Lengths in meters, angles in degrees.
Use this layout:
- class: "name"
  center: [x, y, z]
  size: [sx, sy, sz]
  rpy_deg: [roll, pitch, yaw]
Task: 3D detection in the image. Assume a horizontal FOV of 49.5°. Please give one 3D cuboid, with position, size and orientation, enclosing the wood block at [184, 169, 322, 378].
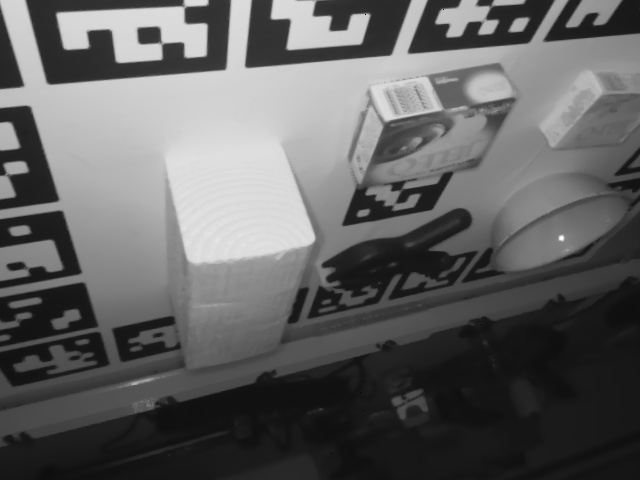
- class: "wood block"
  center: [-0.068, 0.041, 0.608]
  size: [0.091, 0.091, 0.203]
  rpy_deg: [-8, 147, -17]

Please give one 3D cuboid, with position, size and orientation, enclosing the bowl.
- class: "bowl"
  center: [0.270, -0.002, 0.781]
  size: [0.163, 0.055, 0.160]
  rpy_deg: [-14, 146, -9]

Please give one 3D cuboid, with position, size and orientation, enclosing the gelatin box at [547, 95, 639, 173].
- class: "gelatin box"
  center: [0.267, -0.097, 0.639]
  size: [0.090, 0.030, 0.072]
  rpy_deg: [-5, 144, -23]

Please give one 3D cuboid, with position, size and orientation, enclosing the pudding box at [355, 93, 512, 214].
- class: "pudding box"
  center: [0.091, -0.072, 0.574]
  size: [0.115, 0.039, 0.089]
  rpy_deg: [-12, 144, -17]

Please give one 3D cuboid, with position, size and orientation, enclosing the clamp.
- class: "clamp"
  center: [0.108, 0.039, 0.774]
  size: [0.166, 0.037, 0.121]
  rpy_deg: [-14, 149, -6]
